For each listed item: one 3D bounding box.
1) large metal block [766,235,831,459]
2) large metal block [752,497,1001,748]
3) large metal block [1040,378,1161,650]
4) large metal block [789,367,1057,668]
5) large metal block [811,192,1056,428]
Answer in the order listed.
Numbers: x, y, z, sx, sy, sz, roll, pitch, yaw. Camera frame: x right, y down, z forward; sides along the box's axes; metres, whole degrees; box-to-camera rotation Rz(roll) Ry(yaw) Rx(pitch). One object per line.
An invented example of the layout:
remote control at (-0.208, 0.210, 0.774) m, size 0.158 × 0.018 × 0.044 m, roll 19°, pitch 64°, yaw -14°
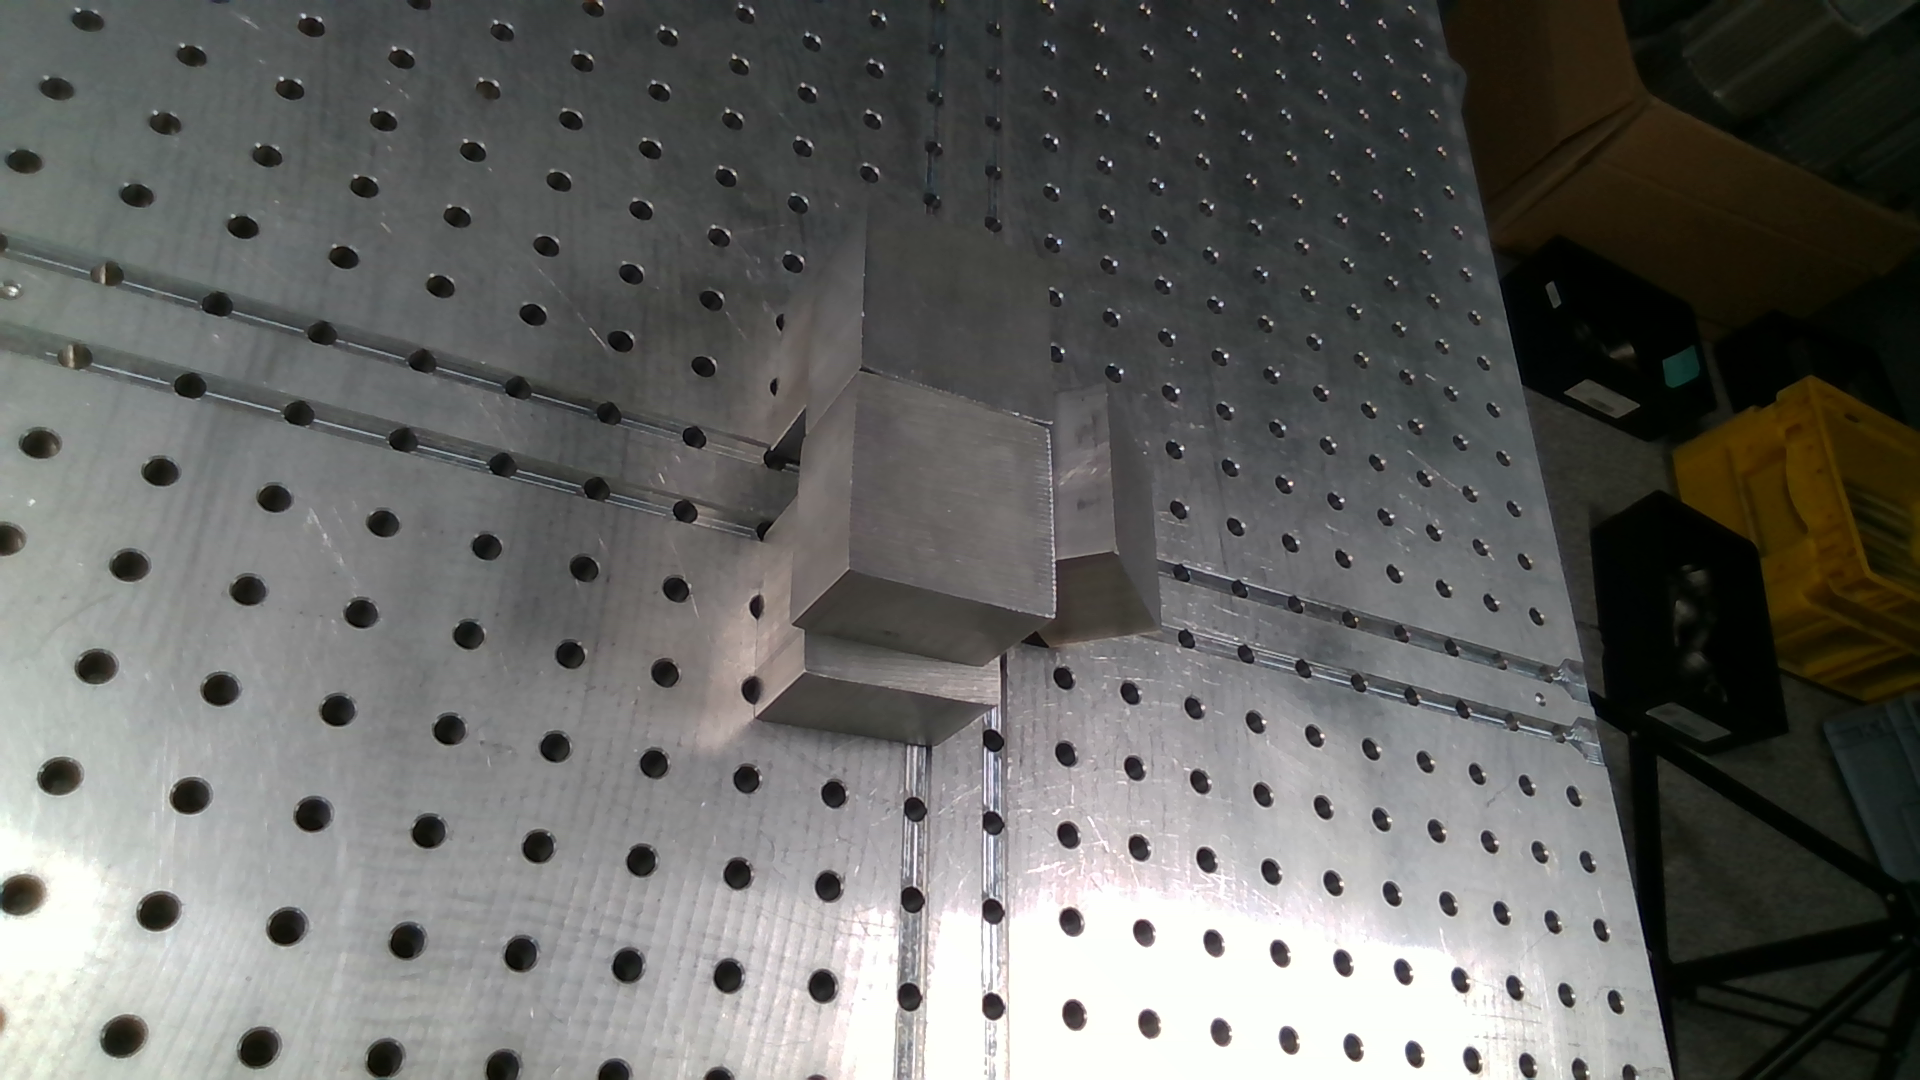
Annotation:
large metal block at (-0.033, -0.072, 0.592) m, size 0.080 × 0.050 × 0.080 m, roll 16°, pitch 58°, yaw -24°
large metal block at (-0.032, 0.030, 0.536) m, size 0.080 × 0.050 × 0.080 m, roll 13°, pitch 59°, yaw -25°
large metal block at (0.049, -0.009, 0.582) m, size 0.080 × 0.050 × 0.080 m, roll 53°, pitch 32°, yaw -56°
large metal block at (-0.013, -0.006, 0.501) m, size 0.080 × 0.050 × 0.080 m, roll 14°, pitch 59°, yaw -25°
large metal block at (-0.011, -0.078, 0.540) m, size 0.080 × 0.050 × 0.080 m, roll 14°, pitch 59°, yaw -25°
